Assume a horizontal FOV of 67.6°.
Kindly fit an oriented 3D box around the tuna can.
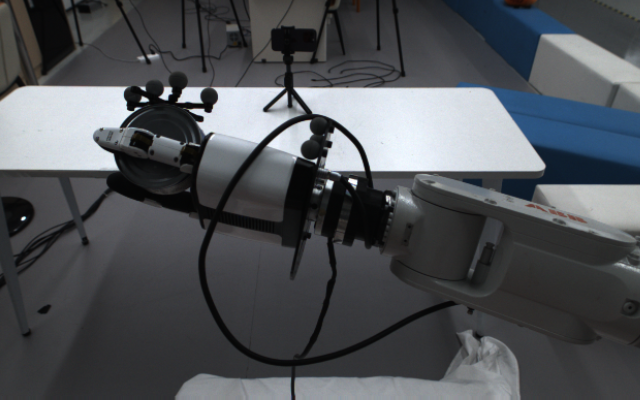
[{"bbox_3d":[-0.154,-0.049,0.480,0.085,0.034,0.085,-1,77,3],"label":"tuna can"}]
